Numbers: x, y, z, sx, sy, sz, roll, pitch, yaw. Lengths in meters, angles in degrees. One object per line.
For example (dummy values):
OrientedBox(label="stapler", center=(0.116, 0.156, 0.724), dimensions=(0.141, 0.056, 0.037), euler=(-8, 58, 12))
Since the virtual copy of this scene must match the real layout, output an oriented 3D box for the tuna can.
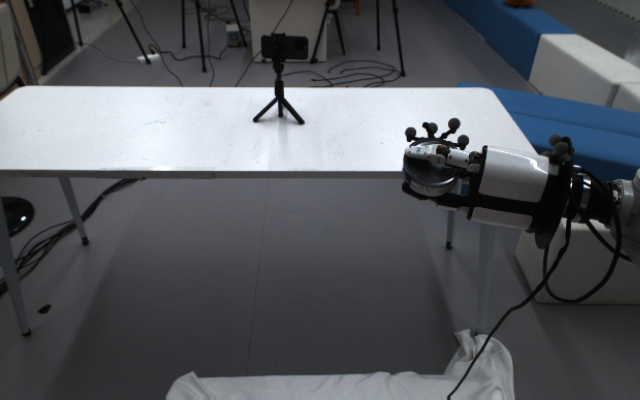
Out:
OrientedBox(label="tuna can", center=(0.164, -0.055, 0.713), dimensions=(0.085, 0.034, 0.085), euler=(-2, 57, 3))
